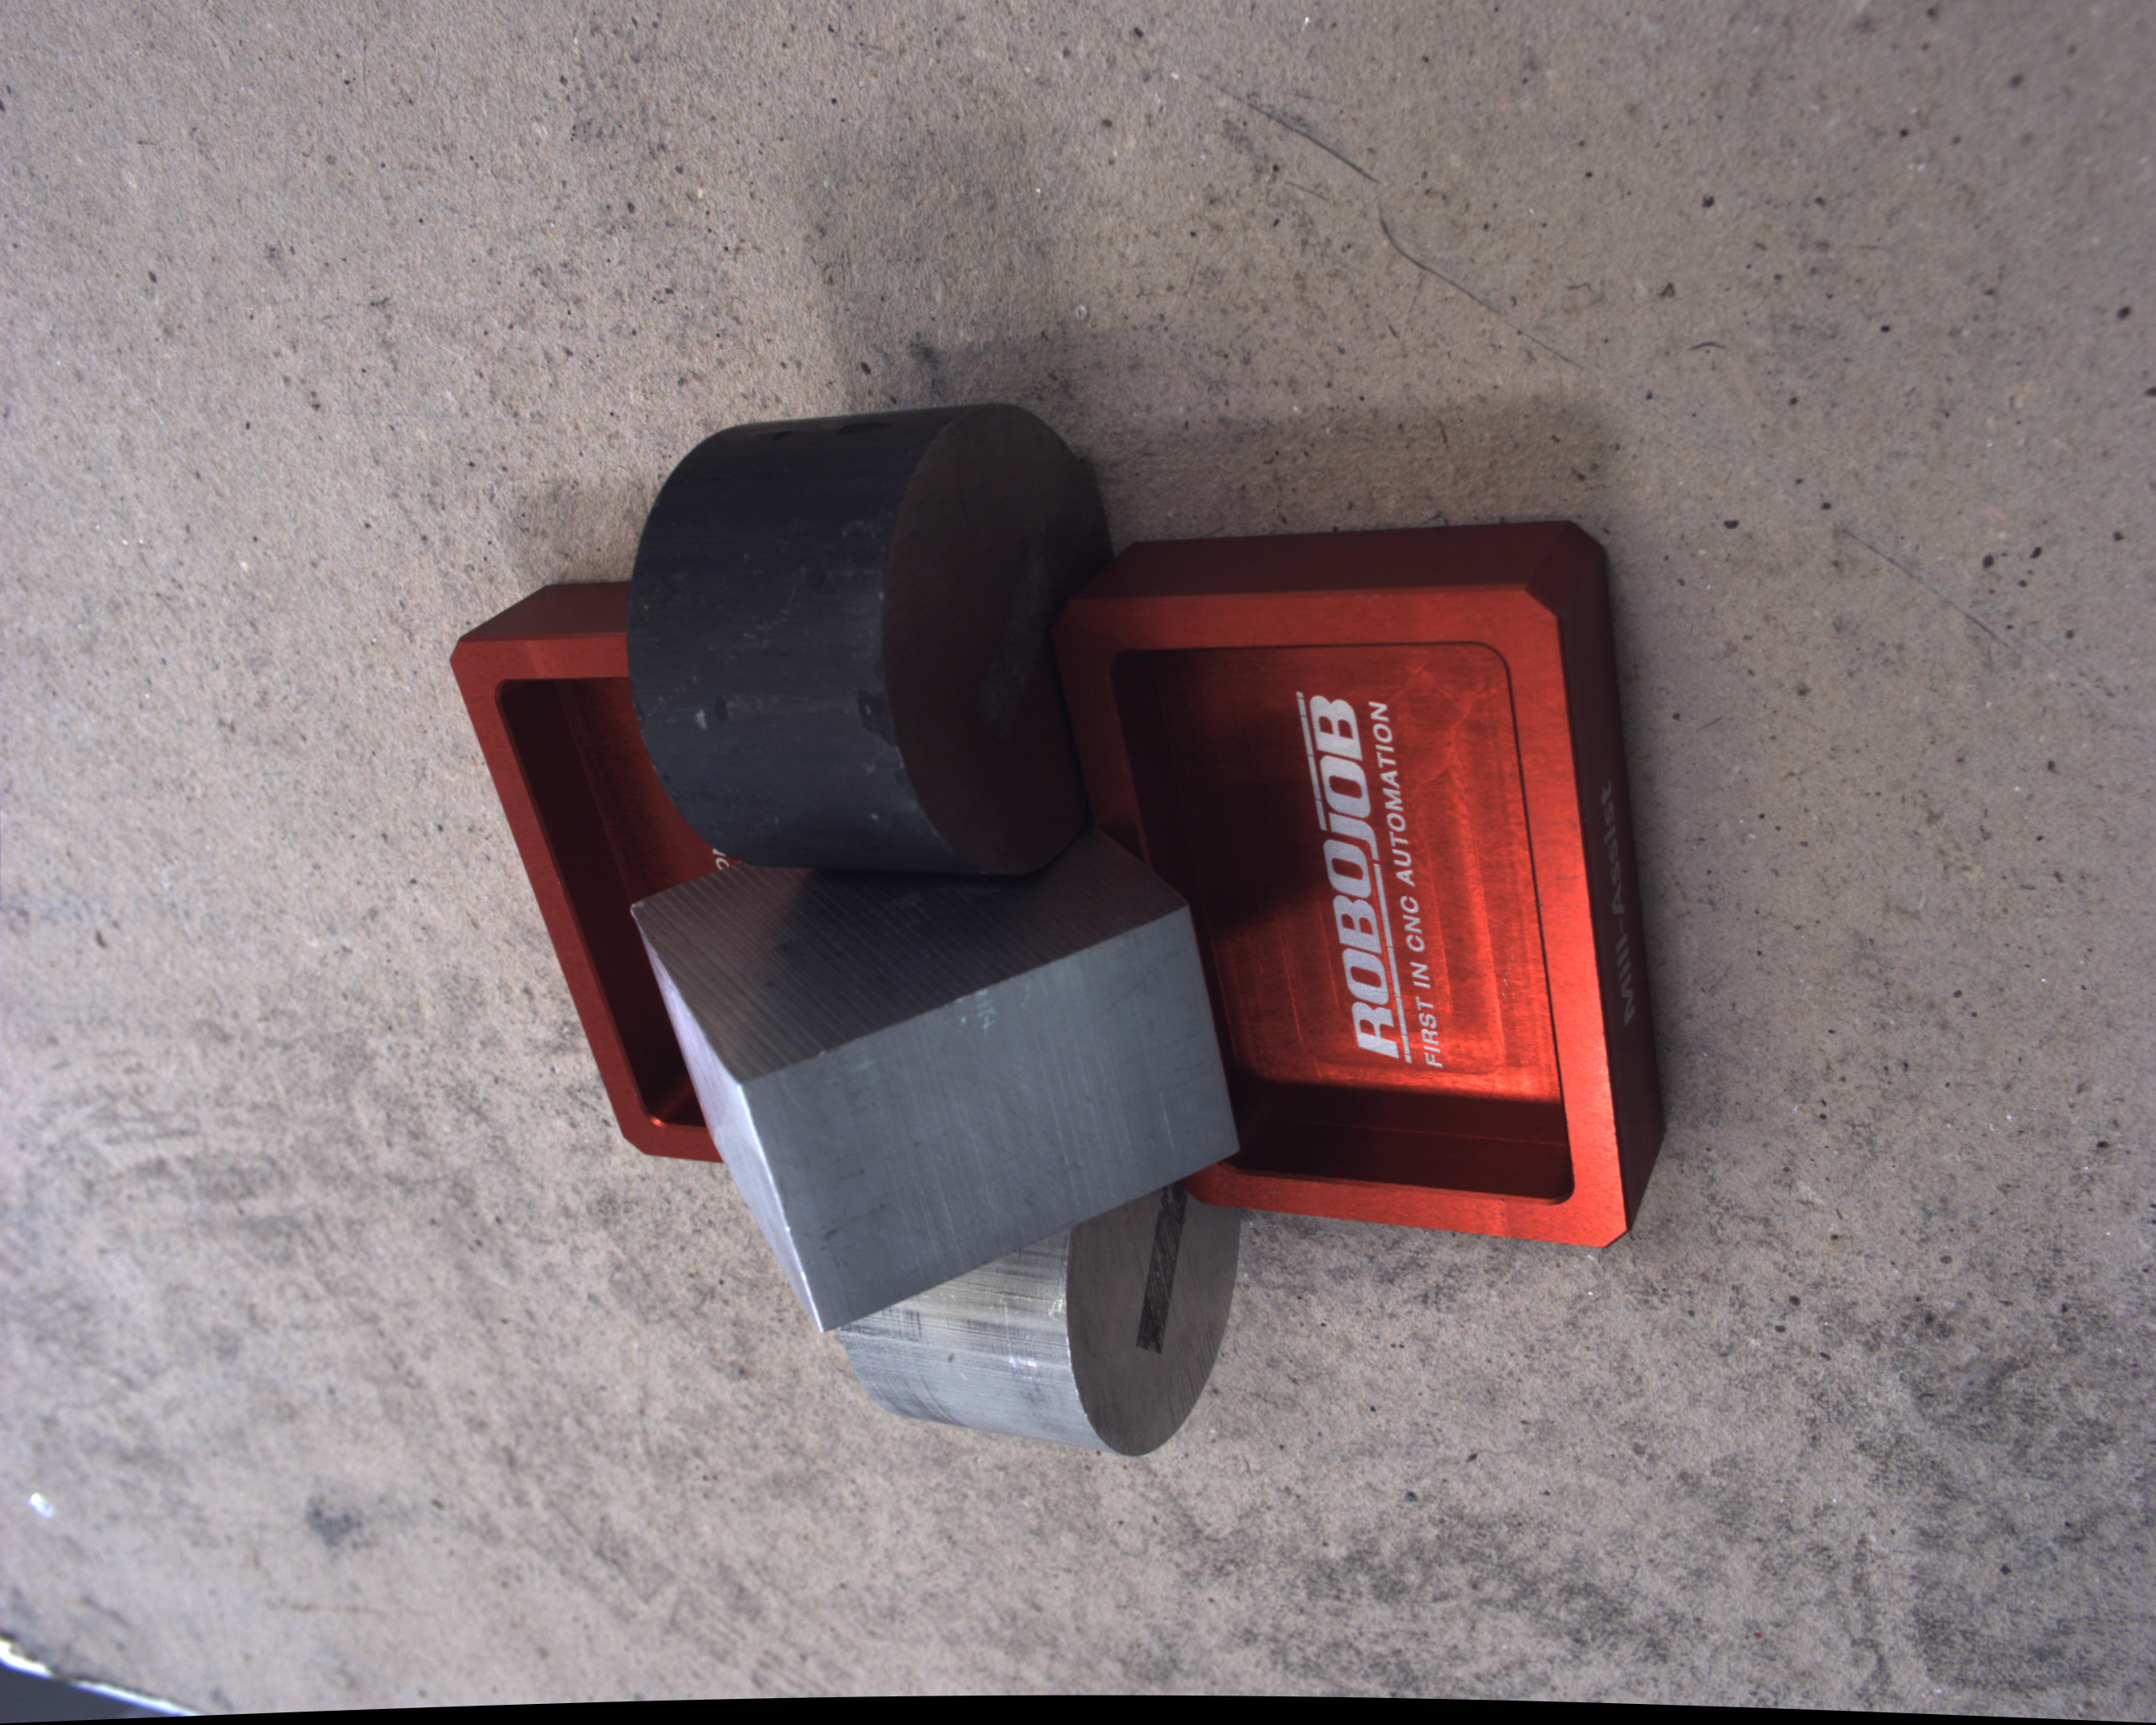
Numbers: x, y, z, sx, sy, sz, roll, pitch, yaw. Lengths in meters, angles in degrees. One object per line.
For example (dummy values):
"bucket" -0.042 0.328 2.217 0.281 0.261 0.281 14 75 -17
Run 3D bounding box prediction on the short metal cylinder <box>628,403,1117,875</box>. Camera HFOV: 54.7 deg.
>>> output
"short metal cylinder" -0.033 -0.038 0.366 0.050 0.080 0.080 2 119 27

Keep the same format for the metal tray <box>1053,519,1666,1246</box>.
"metal tray" 0.054 0.005 0.381 0.090 0.030 0.129 1 119 27

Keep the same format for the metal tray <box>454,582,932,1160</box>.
"metal tray" -0.070 0.005 0.446 0.090 0.030 0.129 1 119 27

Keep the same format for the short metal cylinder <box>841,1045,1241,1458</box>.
"short metal cylinder" -0.006 0.076 0.423 0.050 0.080 0.080 2 119 27

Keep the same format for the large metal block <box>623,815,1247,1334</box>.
"large metal block" -0.028 0.029 0.378 0.080 0.081 0.050 39 146 58
